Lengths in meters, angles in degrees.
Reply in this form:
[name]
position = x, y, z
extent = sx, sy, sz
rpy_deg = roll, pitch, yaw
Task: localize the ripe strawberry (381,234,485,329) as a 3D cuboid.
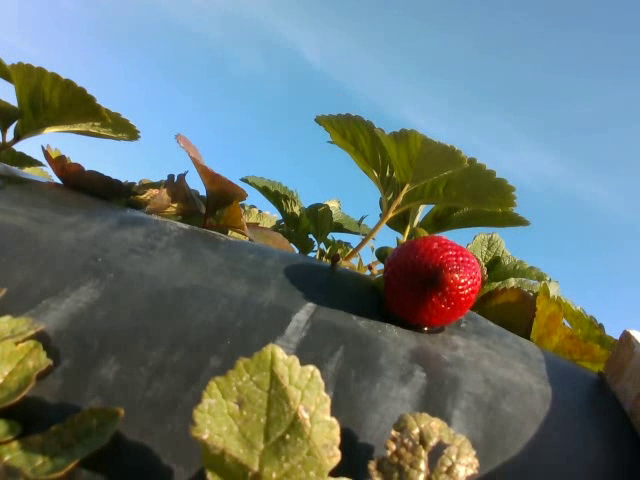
[ripe strawberry]
position = 0.040, 0.013, 0.205
extent = 0.040, 0.037, 0.044
rpy_deg = 20, 0, -10
